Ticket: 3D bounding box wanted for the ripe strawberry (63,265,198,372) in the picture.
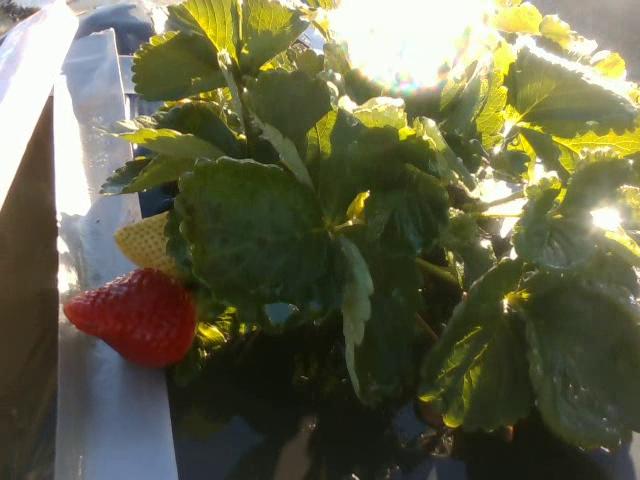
[{"bbox_3d":[-0.076,0.030,0.243,0.045,0.049,0.063,-8,-14,34],"label":"ripe strawberry"}]
